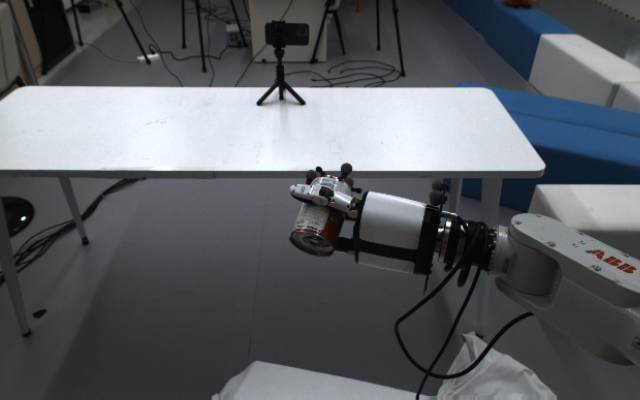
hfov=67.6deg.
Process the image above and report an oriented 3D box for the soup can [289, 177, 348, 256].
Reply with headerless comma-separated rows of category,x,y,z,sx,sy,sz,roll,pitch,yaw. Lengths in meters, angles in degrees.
soup can,0.003,0.022,0.709,0.067,0.067,0.101,12,59,14
